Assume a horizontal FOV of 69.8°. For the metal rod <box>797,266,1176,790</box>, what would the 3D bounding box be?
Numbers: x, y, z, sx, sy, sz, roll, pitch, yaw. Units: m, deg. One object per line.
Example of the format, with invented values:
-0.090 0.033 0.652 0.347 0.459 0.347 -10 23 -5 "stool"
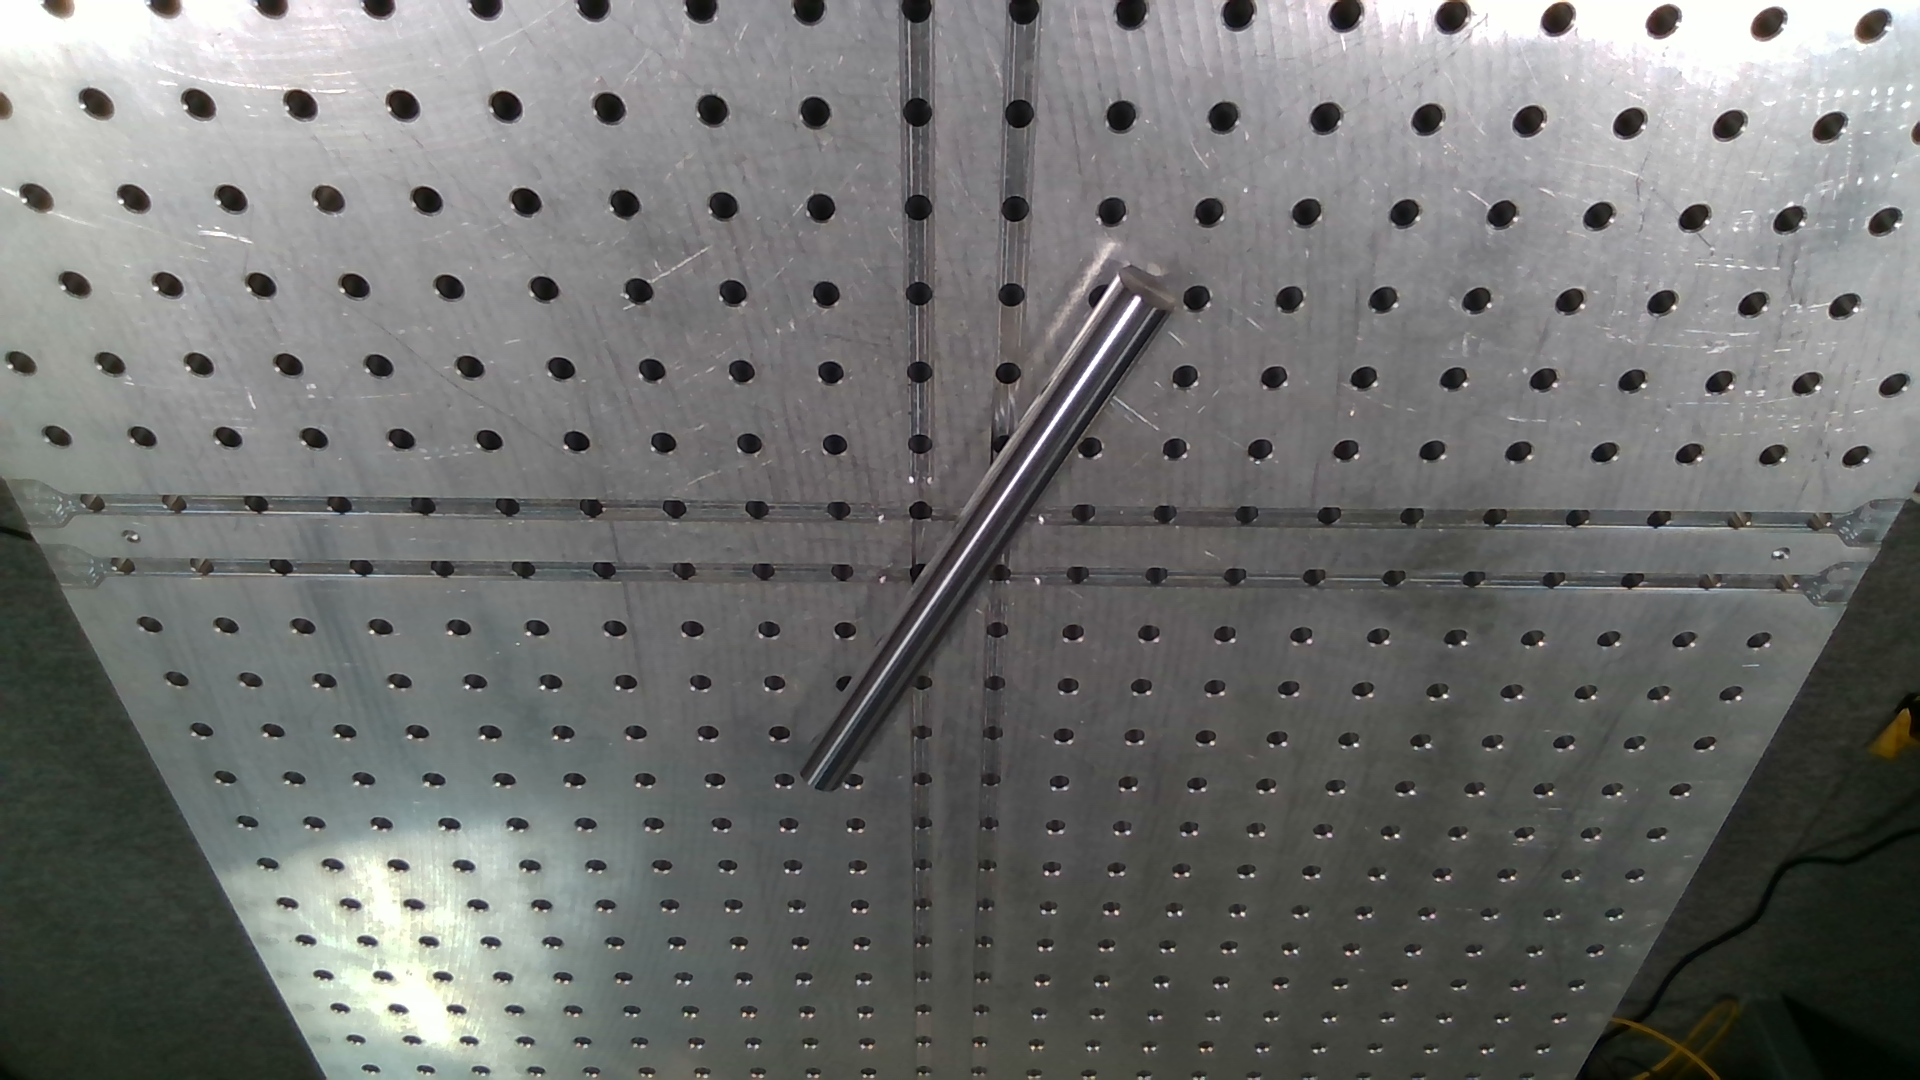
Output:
0.000 0.010 0.591 0.025 0.025 0.301 21 127 -17 "metal rod"
